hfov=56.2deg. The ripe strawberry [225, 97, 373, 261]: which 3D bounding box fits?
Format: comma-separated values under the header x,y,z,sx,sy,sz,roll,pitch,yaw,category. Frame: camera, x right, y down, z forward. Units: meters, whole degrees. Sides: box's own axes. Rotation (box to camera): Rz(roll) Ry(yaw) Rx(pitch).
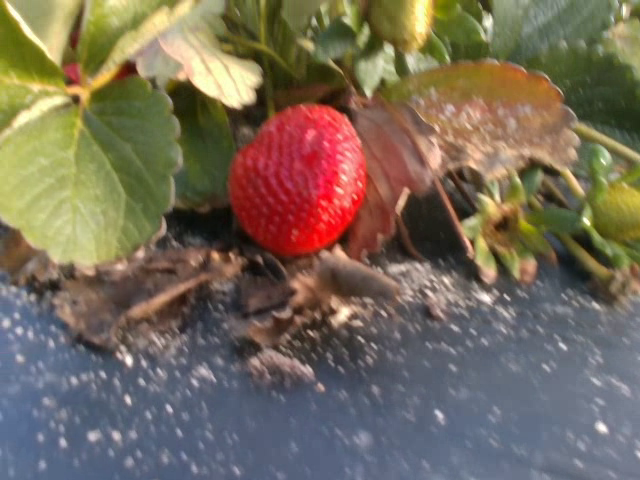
x,y,z,sx,sy,sz,roll,pitch,yaw,category
-0.003,-0.010,0.104,0.031,0.026,0.030,-17,25,-17,ripe strawberry
